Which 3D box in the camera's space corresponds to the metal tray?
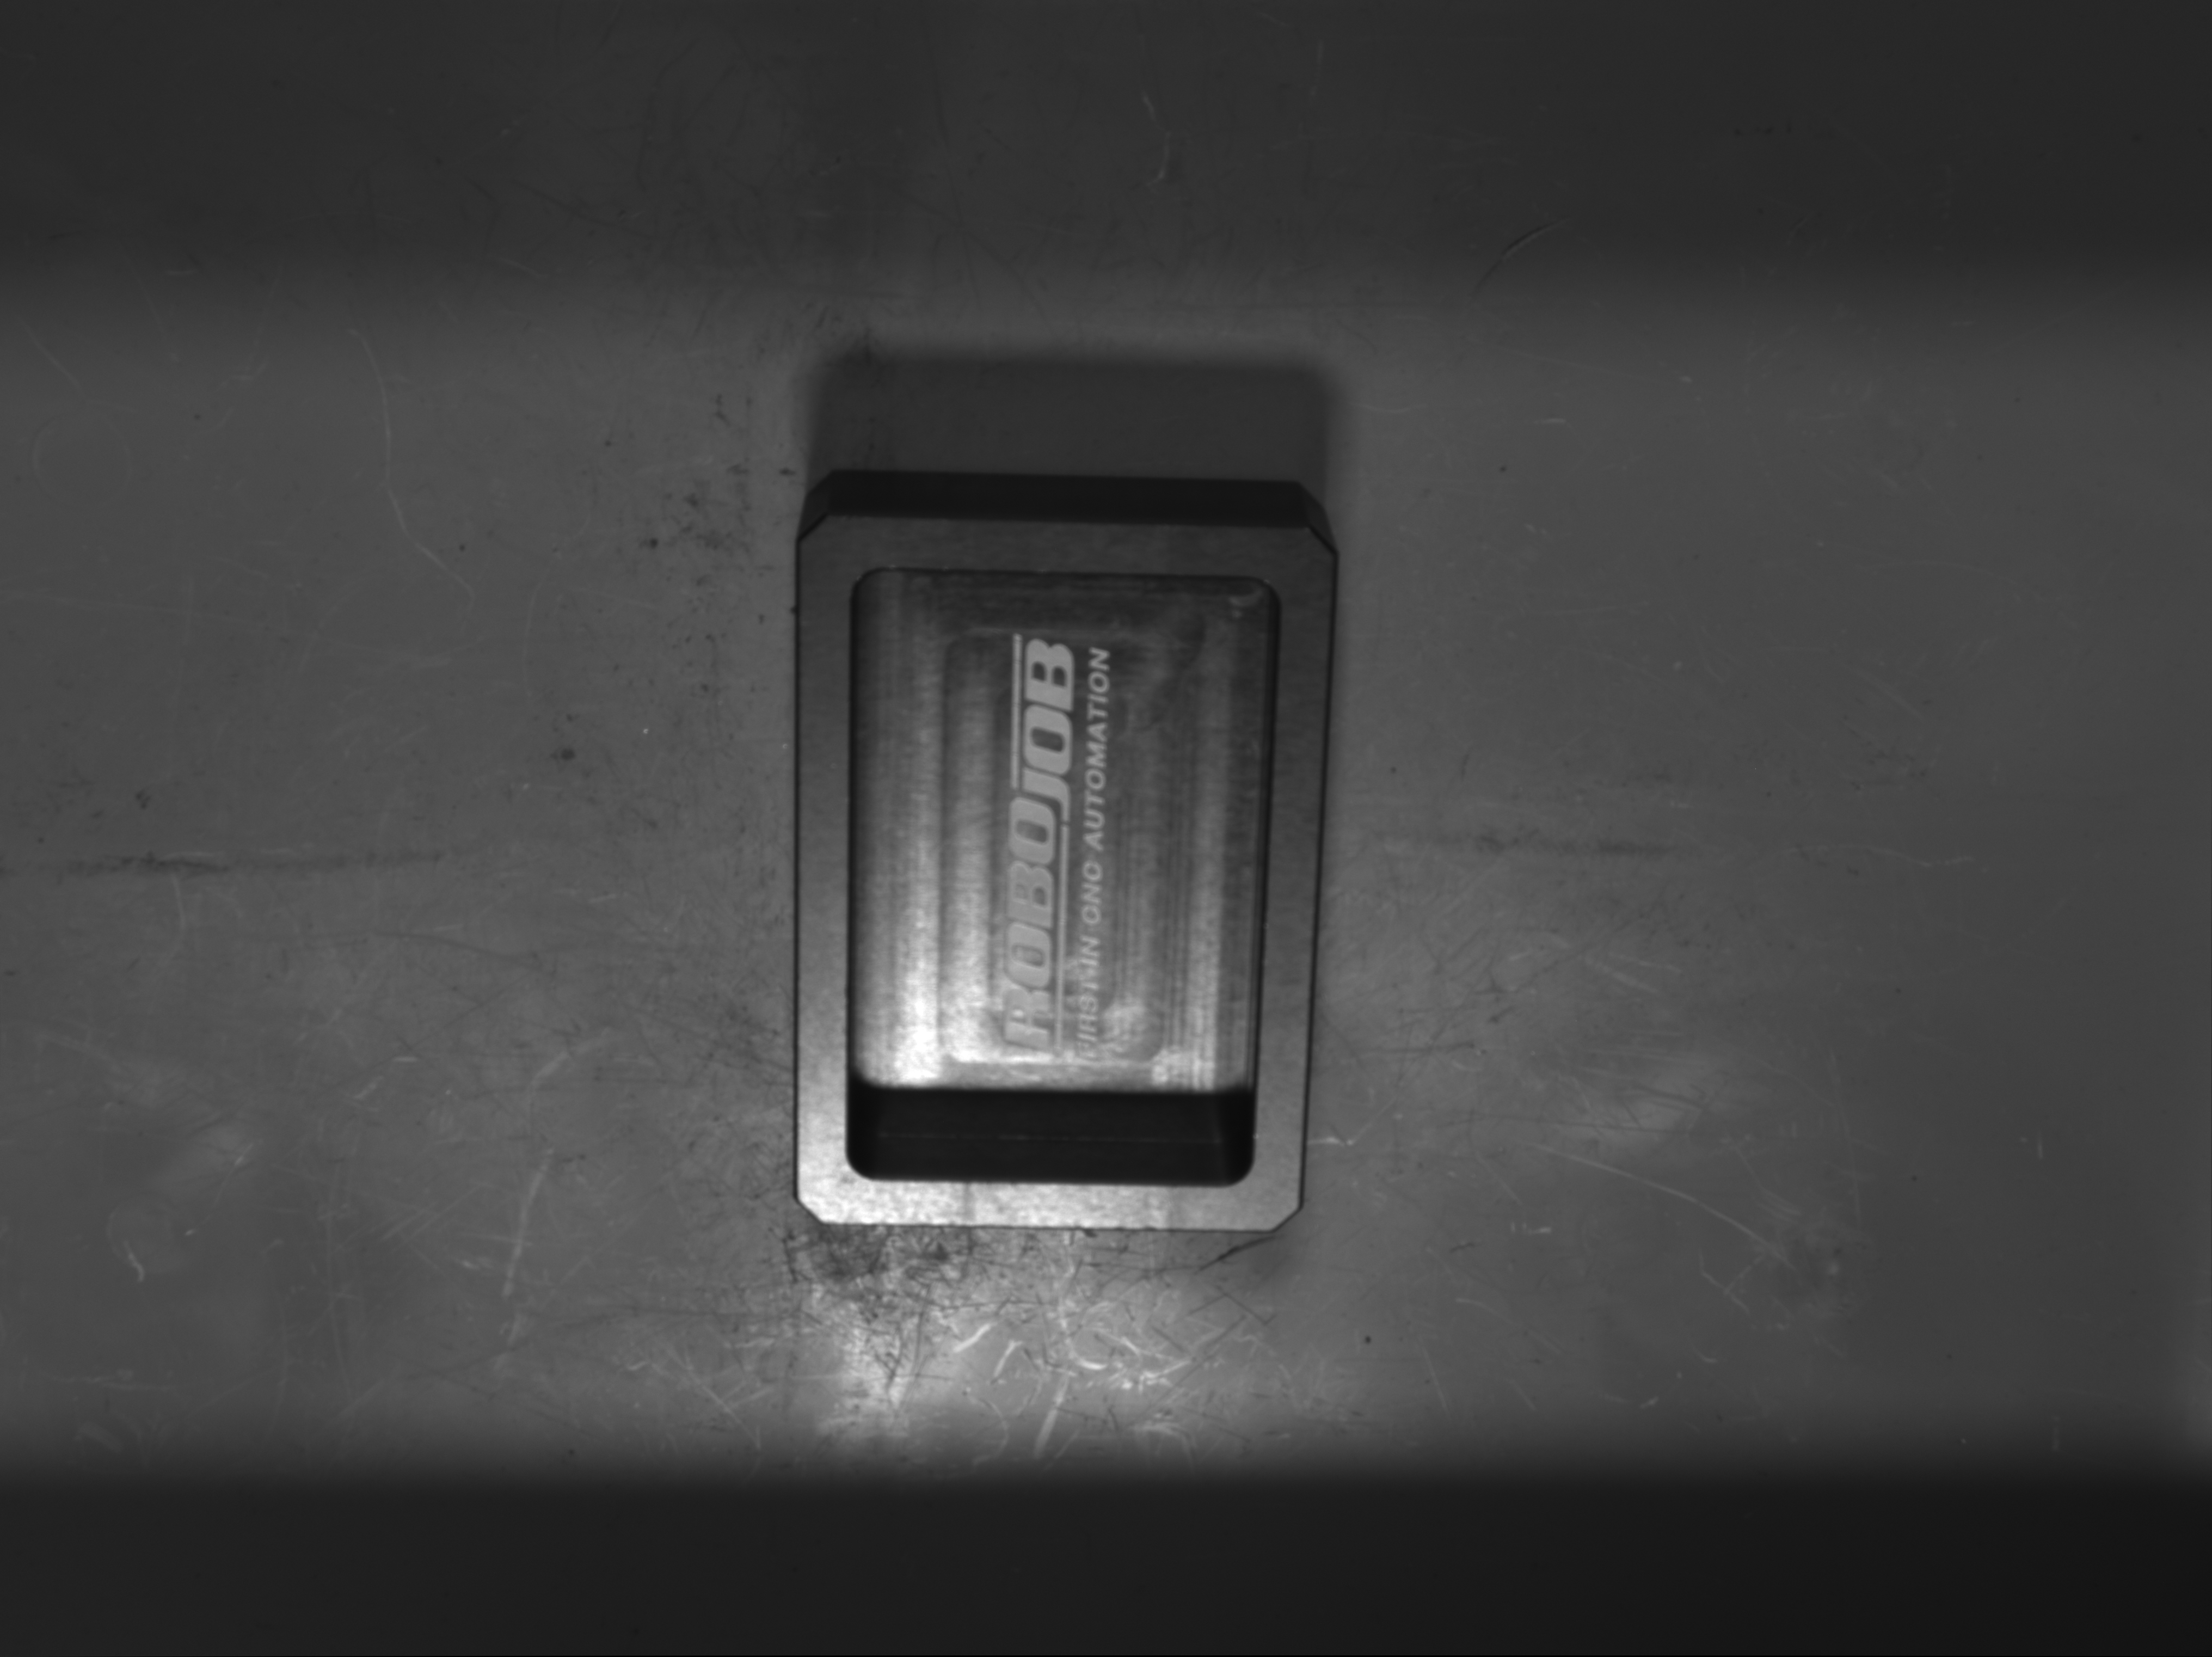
[{"bbox_3d":[-0.007,0.006,0.639,0.090,0.030,0.130,1,110,-2],"label":"metal tray"}]
